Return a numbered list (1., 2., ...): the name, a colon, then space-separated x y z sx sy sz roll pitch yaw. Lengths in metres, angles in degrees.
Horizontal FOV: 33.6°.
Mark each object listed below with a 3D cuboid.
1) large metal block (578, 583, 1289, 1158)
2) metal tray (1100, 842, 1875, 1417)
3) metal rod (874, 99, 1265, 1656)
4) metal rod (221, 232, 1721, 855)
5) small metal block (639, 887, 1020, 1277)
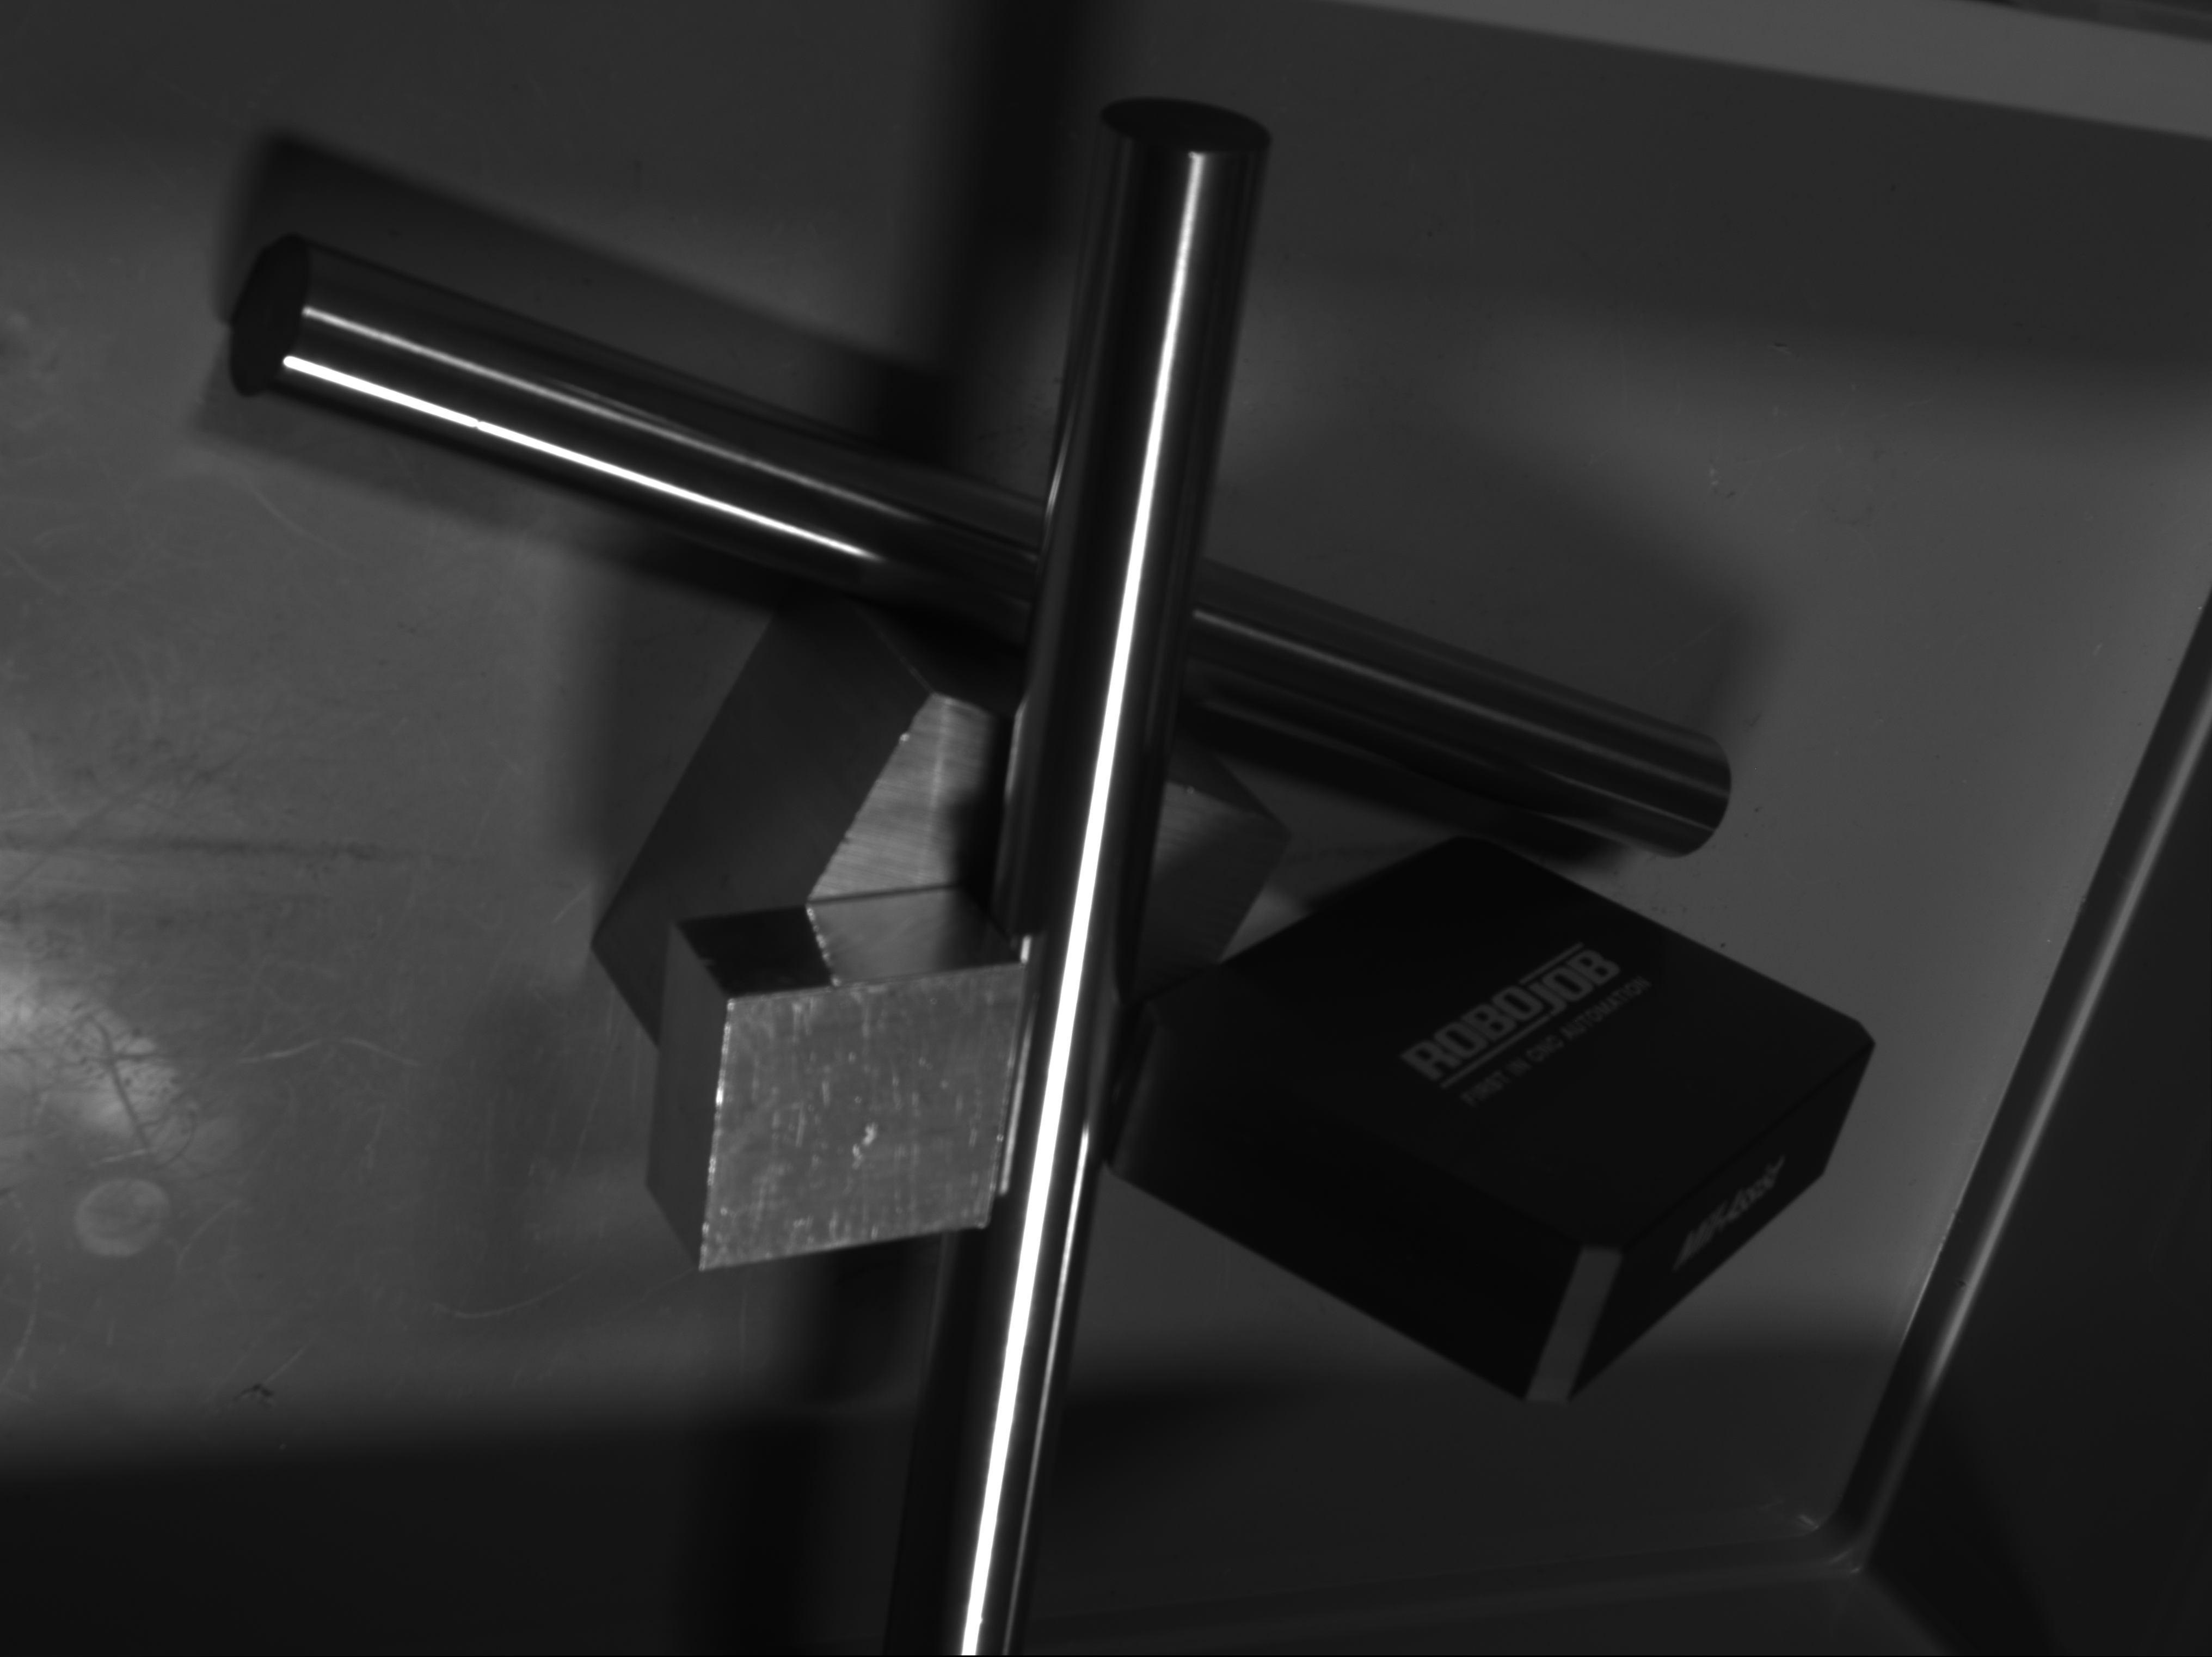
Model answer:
1. large metal block: -0.030 0.011 0.623 0.080 0.050 0.080 20 107 -37
2. metal tray: 0.070 0.048 0.643 0.130 0.090 0.030 -25 137 -56
3. metal rod: -0.010 0.030 0.597 0.025 0.025 0.300 -6 121 -27
4. metal rod: -0.007 -0.041 0.621 0.301 0.025 0.025 16 109 -36
5. small metal block: -0.044 0.040 0.583 0.050 0.025 0.050 -7 121 -27
